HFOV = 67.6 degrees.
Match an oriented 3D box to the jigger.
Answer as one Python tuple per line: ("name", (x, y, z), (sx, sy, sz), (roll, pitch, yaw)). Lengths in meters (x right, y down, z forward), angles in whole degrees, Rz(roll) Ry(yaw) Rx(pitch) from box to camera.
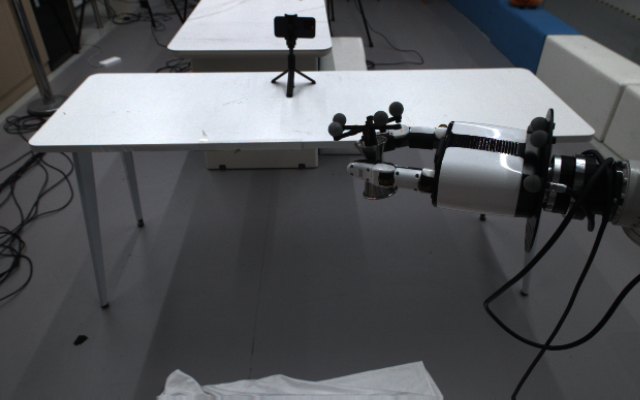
("jigger", (0.068, -0.041, 0.595), (0.043, 0.071, 0.043), (-11, 24, 5))
